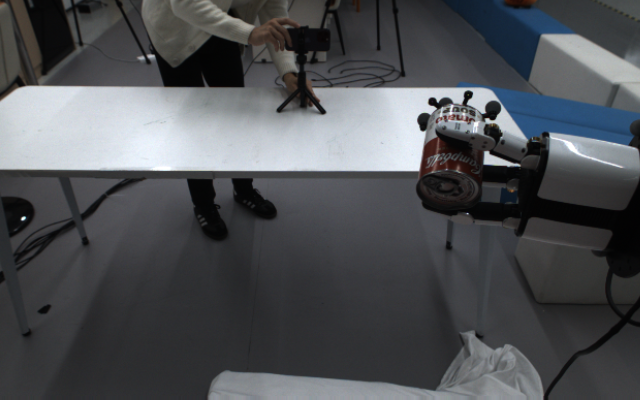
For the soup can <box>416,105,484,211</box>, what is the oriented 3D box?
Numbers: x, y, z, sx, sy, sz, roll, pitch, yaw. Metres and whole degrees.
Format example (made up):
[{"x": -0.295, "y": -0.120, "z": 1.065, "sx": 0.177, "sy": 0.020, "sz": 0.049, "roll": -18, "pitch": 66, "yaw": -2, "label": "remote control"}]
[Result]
[{"x": 0.148, "y": -0.050, "z": 0.538, "sx": 0.067, "sy": 0.067, "sz": 0.101, "roll": 9, "pitch": 56, "yaw": 10, "label": "soup can"}]
